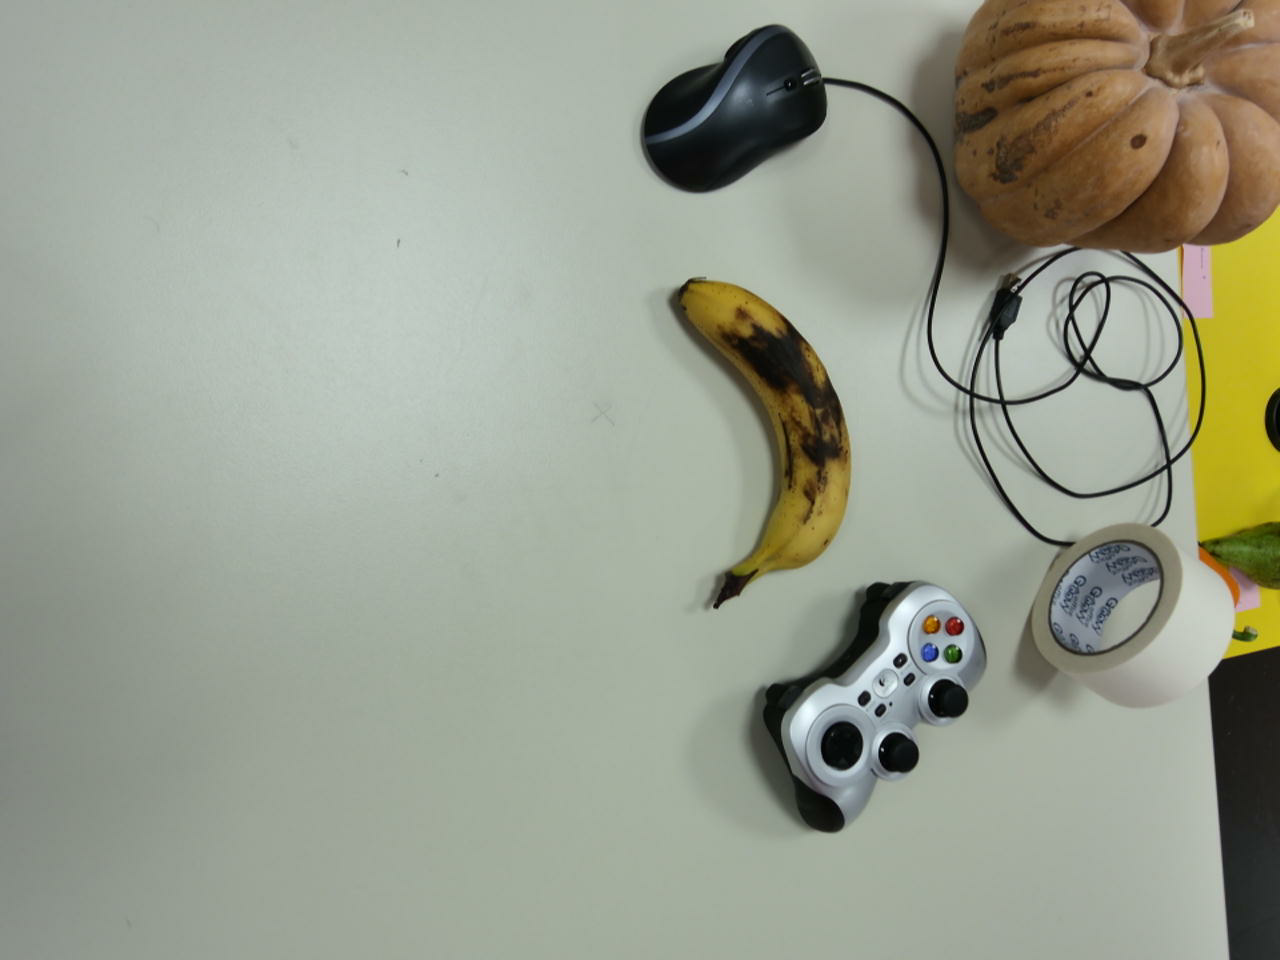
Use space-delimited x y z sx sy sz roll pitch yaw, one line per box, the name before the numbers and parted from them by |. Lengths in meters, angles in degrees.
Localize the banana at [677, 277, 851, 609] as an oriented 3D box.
banana | 0.076 -0.026 0.578 0.094 0.039 0.187 -7 93 -21
